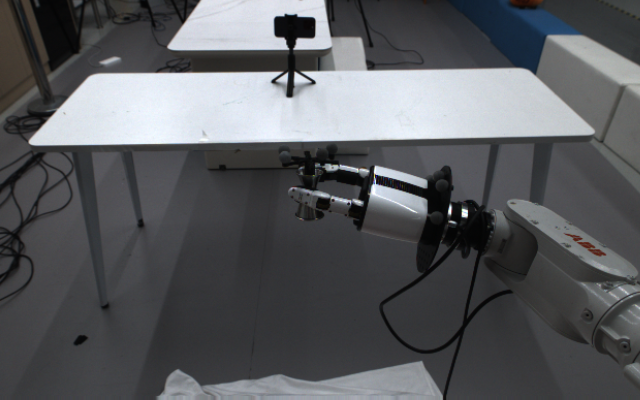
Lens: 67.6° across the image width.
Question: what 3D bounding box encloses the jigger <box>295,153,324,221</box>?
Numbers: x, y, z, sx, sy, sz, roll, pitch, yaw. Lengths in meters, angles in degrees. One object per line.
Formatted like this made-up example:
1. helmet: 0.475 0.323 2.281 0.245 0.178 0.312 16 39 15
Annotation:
1. jigger: -0.016 -0.010 0.704 0.043 0.071 0.043 0 21 0
